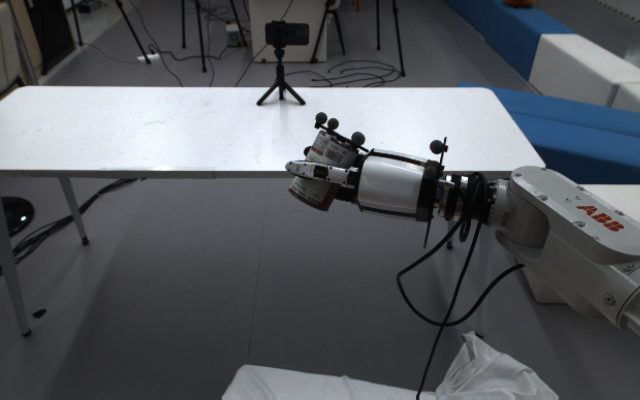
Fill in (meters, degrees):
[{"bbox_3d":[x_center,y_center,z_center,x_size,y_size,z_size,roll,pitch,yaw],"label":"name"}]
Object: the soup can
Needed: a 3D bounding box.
[{"bbox_3d":[0.006,-0.043,0.717,0.067,0.101,0.067,27,10,-5],"label":"soup can"}]
